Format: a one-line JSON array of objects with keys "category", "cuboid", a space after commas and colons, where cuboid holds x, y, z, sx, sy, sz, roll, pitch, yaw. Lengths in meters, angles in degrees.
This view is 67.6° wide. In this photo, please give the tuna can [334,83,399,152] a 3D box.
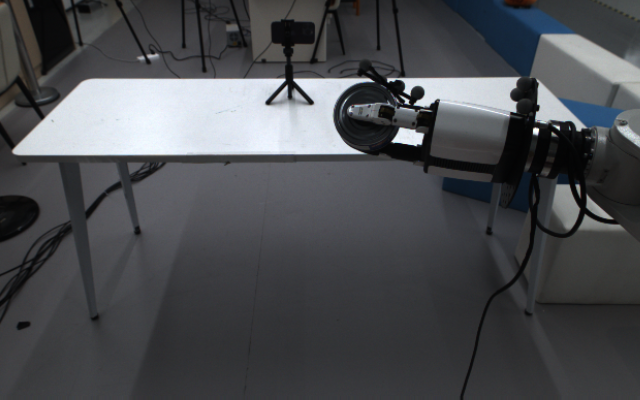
[{"category": "tuna can", "cuboid": [0.065, -0.103, 0.627, 0.085, 0.085, 0.034, 13, -4, 15]}]
